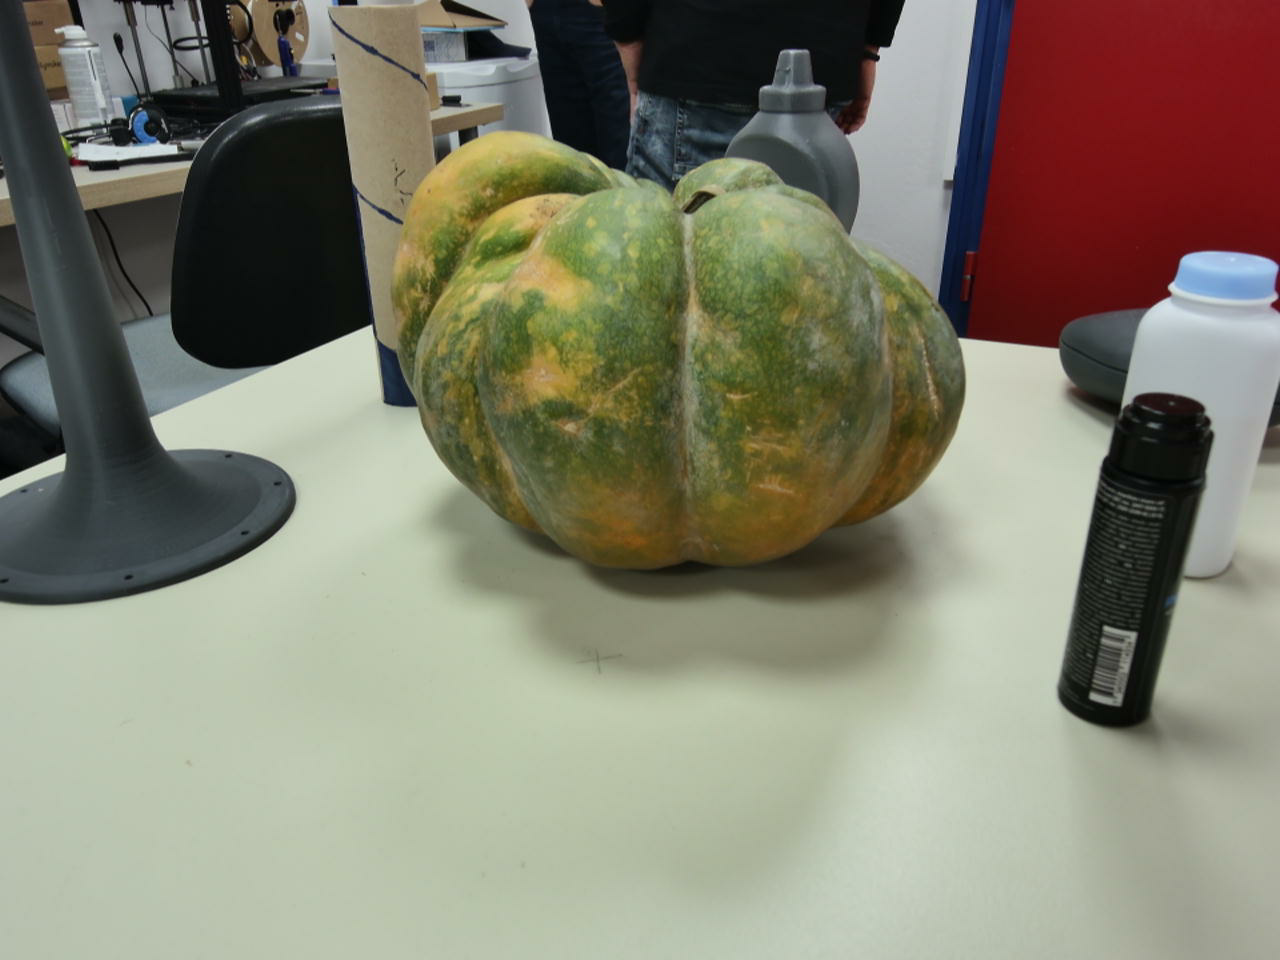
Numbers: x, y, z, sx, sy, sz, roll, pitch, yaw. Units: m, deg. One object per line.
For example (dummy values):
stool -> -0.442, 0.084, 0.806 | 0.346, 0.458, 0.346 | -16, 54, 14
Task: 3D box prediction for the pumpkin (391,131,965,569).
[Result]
pumpkin -> 0.014, -0.065, 0.454 | 0.237, 0.173, 0.270 | -12, 26, -25
